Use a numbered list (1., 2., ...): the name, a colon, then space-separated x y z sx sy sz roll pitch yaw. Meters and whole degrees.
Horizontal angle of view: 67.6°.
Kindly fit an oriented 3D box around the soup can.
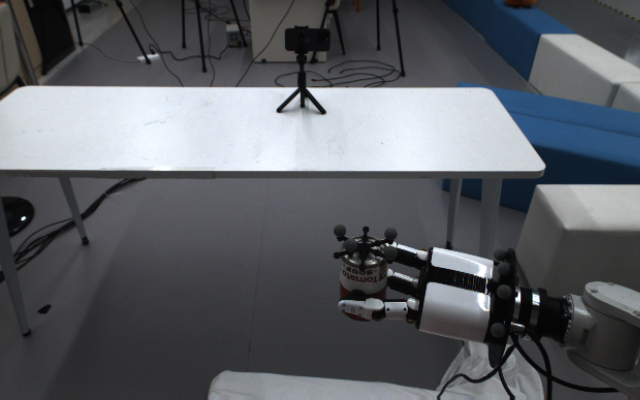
1. soup can: 0.063 0.108 0.676 0.067 0.101 0.067 -2 34 1
